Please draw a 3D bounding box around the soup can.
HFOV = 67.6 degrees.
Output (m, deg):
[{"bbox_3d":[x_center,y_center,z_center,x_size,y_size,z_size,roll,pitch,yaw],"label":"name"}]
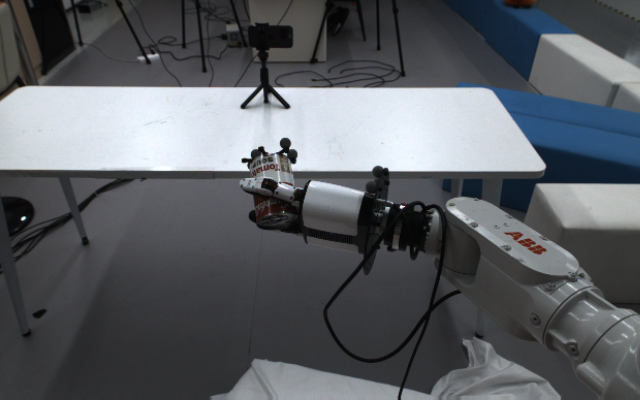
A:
[{"bbox_3d":[-0.070,-0.011,0.748,0.067,0.067,0.101,-6,67,-12],"label":"soup can"}]
